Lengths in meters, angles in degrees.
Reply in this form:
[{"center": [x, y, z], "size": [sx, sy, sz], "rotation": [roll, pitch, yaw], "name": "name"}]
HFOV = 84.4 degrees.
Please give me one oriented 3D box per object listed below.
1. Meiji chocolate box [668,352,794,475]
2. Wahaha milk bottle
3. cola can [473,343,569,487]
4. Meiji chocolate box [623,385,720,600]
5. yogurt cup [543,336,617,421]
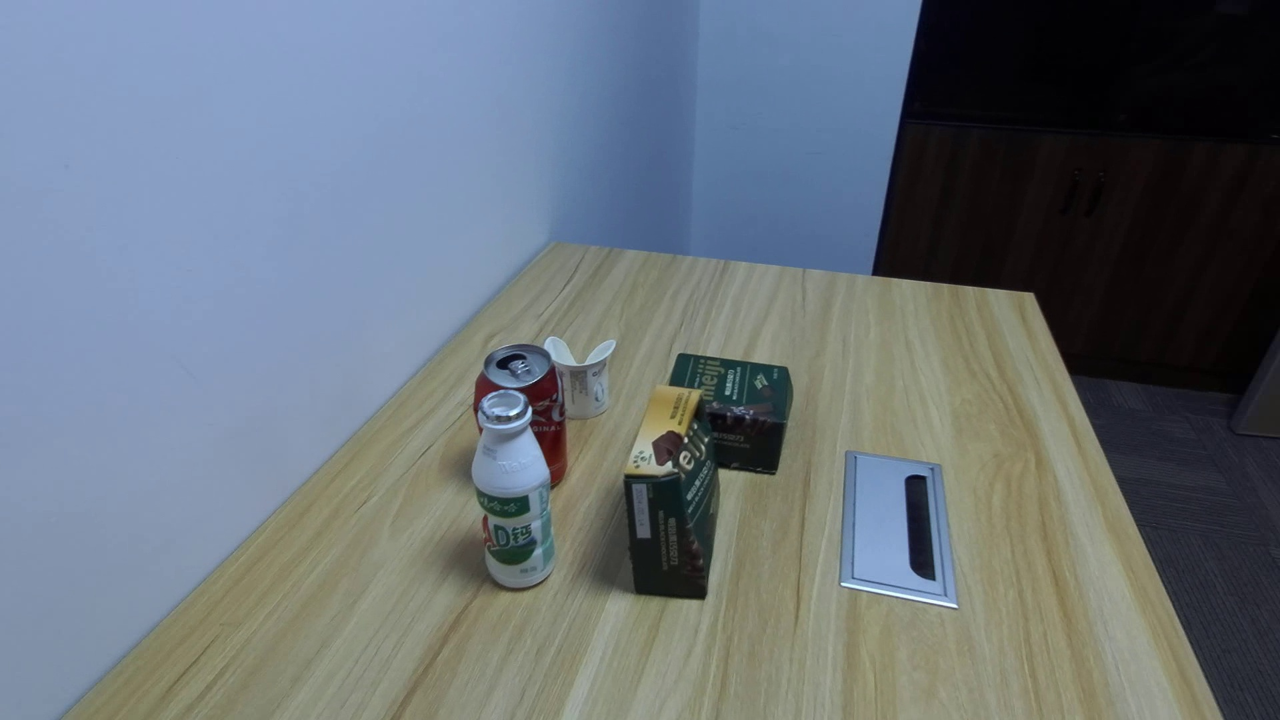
[{"center": [0.078, 0.045, 0.650], "size": [0.122, 0.058, 0.116], "rotation": [6, 29, 9], "name": "Meiji chocolate box"}, {"center": [-0.086, 0.090, 0.489], "size": [0.056, 0.148, 0.056], "rotation": [-1, 30, 1], "name": "Wahaha milk bottle"}, {"center": [-0.094, 0.047, 0.589], "size": [0.072, 0.117, 0.065], "rotation": [3, 31, 4], "name": "cola can"}, {"center": [0.026, 0.091, 0.517], "size": [0.051, 0.117, 0.117], "rotation": [-1, 30, 14], "name": "Meiji chocolate box"}, {"center": [-0.057, 0.017, 0.679], "size": [0.067, 0.070, 0.067], "rotation": [1, 31, 0], "name": "yogurt cup"}]
